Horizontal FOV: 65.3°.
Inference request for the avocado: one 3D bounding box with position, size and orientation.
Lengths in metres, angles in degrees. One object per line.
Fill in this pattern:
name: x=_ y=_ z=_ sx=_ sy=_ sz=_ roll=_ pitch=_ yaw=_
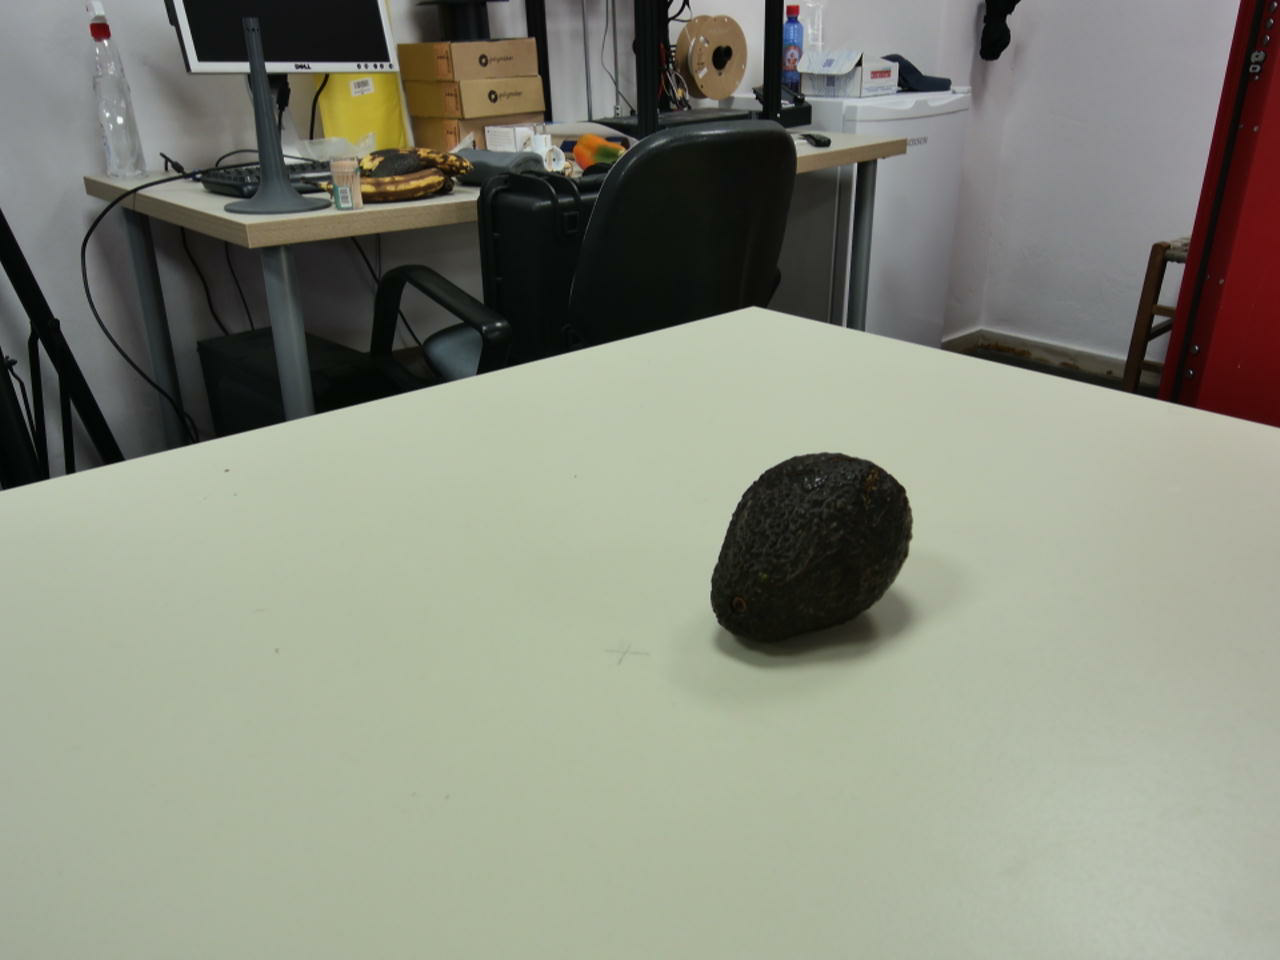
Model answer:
avocado: x=0.069 y=0.024 z=0.415 sx=0.090 sy=0.069 sz=0.070 roll=-6 pitch=22 yaw=-13
